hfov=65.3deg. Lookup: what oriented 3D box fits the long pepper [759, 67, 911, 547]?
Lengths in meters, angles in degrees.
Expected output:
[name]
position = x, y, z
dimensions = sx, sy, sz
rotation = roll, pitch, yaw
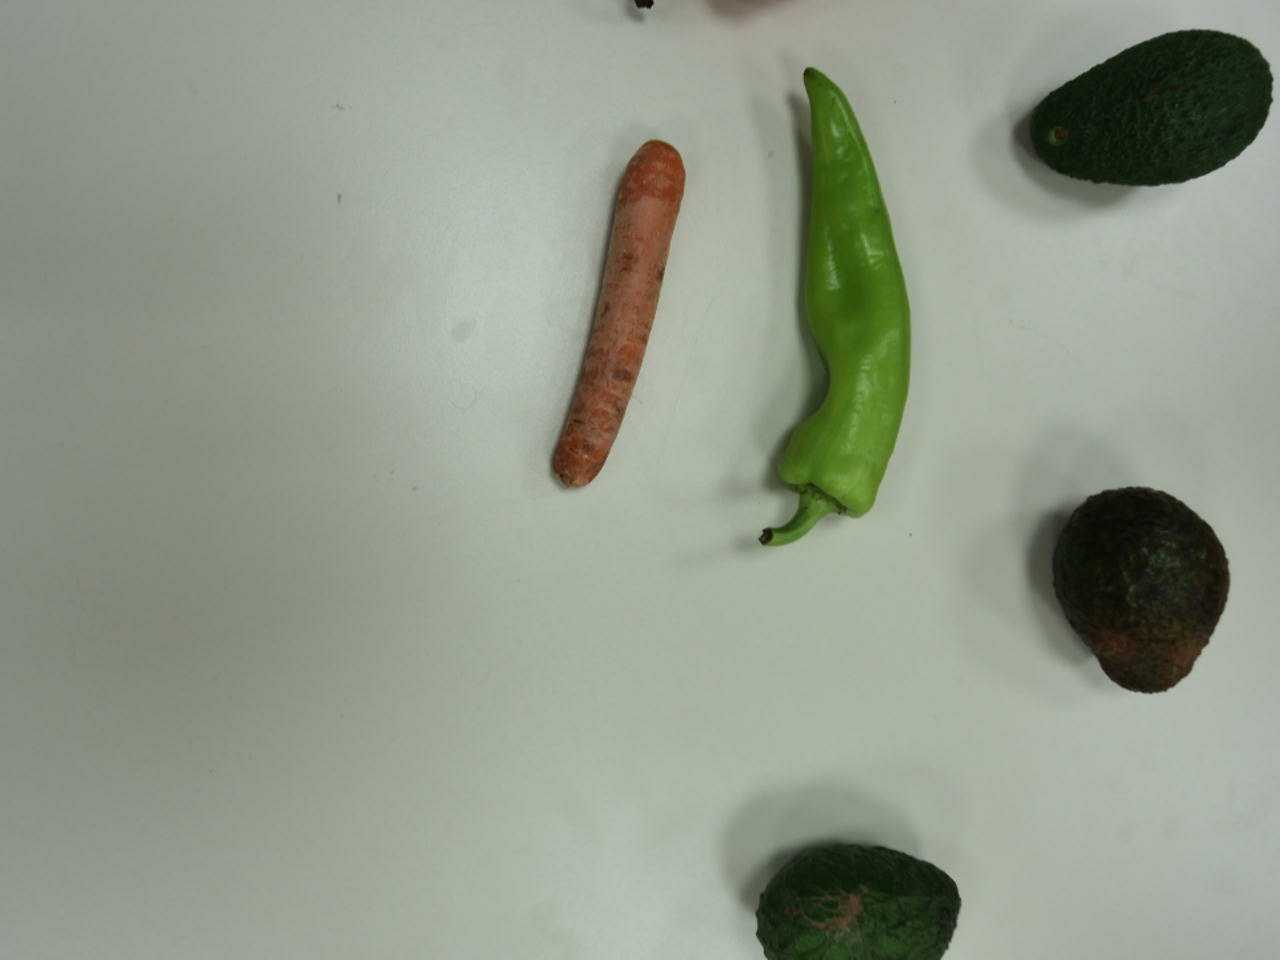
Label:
[long pepper]
position = 0.089, -0.070, 0.432
dimensions = 0.065, 0.045, 0.204
rotation = 7, 89, -12
